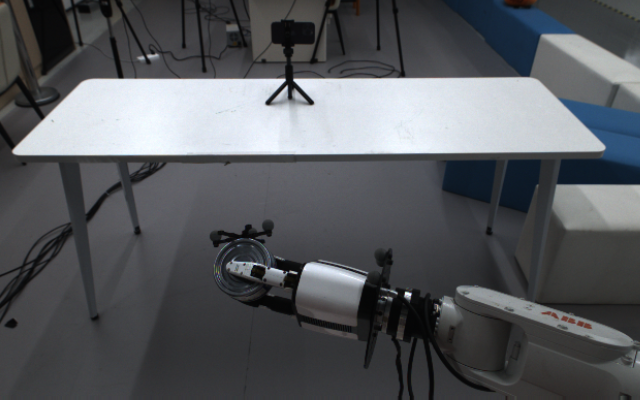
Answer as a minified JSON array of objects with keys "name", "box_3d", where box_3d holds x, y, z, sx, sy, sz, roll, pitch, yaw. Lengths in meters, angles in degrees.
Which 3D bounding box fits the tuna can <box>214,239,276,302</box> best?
[{"name":"tuna can","box_3d":[-0.102,0.104,0.678,0.085,0.034,0.085,-4,67,9]}]
